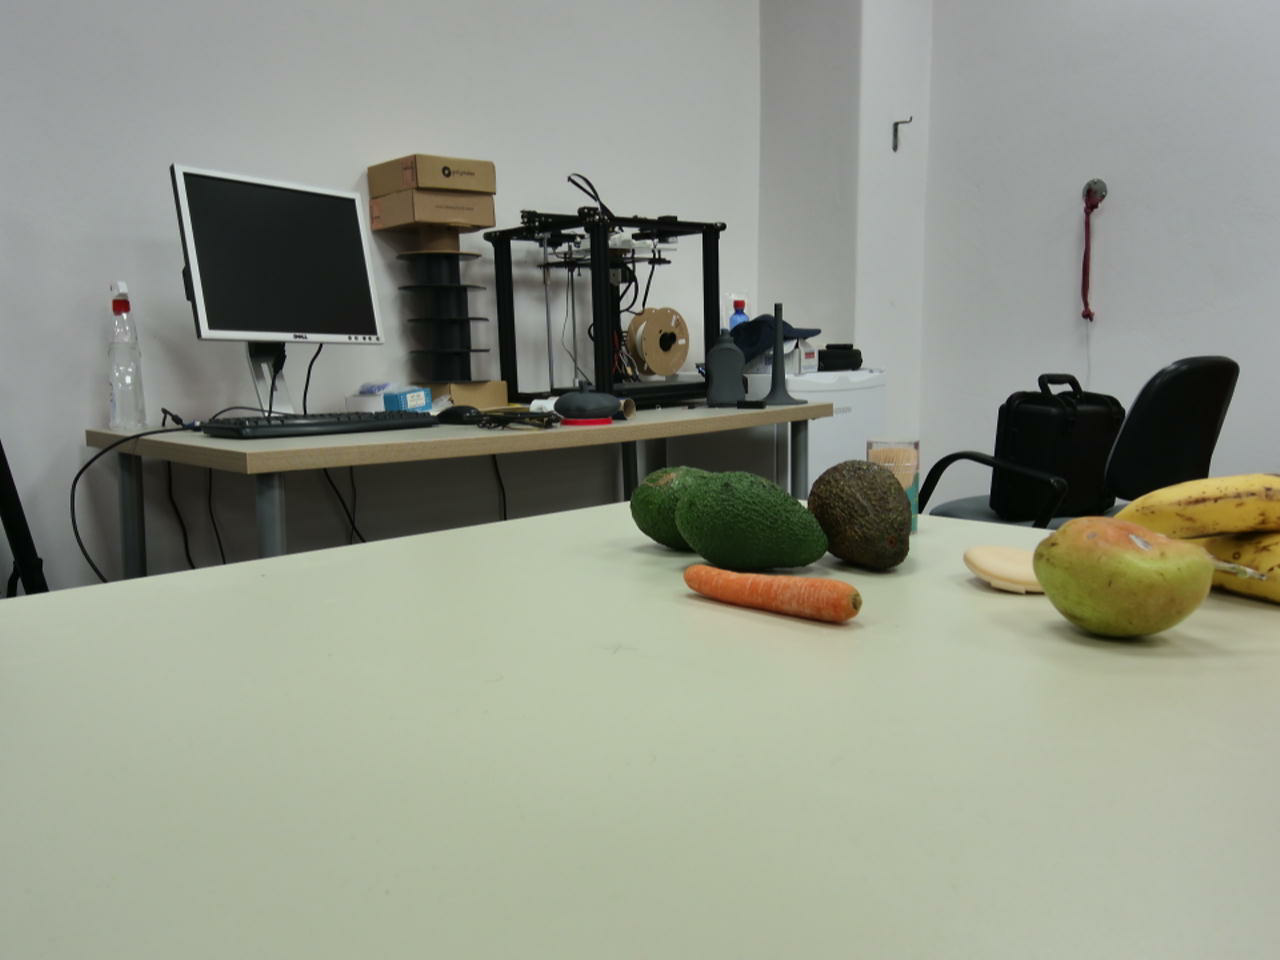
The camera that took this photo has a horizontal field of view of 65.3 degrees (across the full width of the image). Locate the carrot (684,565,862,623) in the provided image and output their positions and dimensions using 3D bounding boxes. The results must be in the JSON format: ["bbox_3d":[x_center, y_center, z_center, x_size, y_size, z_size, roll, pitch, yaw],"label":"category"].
[{"bbox_3d":[0.073,0.063,0.576,0.122,0.023,0.024,6,8,44],"label":"carrot"}]
